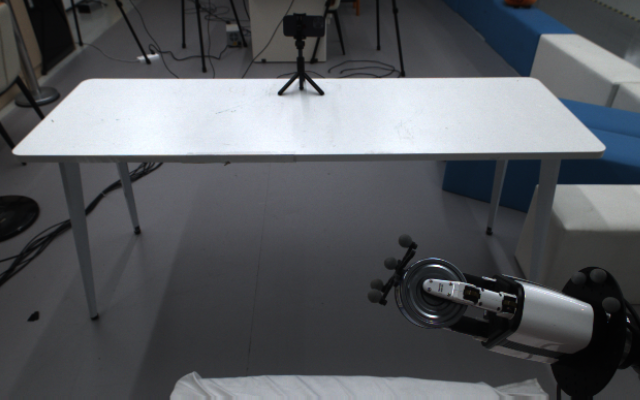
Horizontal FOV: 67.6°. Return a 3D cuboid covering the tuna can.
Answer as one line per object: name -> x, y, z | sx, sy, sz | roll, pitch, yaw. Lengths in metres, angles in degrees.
tuna can -> 0.140, 0.112, 0.593 | 0.085, 0.034, 0.085 | 1, 74, -4
